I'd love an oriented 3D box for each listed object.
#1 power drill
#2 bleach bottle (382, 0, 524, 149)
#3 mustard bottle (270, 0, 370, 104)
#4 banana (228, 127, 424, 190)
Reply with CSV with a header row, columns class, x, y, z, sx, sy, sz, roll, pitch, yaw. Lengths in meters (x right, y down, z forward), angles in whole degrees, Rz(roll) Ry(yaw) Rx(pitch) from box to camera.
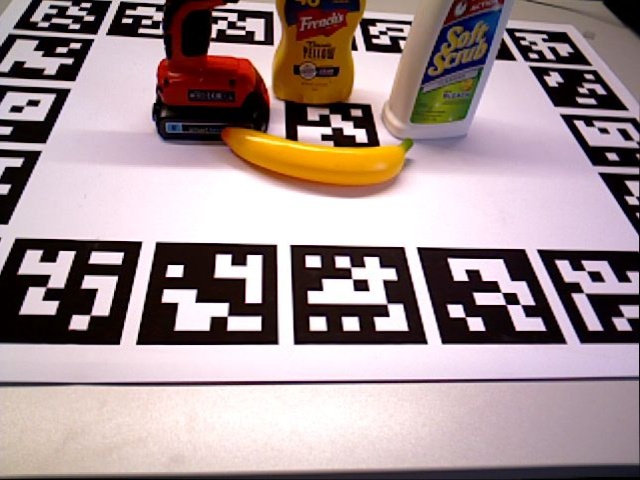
class,x,y,z,sx,sy,sz,roll,pitch,yaw
power drill,-0.092,-0.209,0.497,0.183,0.191,0.056,1,41,-11
bleach bottle,0.136,-0.208,0.525,0.101,0.257,0.067,-5,50,-13
mustard bottle,0.001,-0.239,0.563,0.095,0.196,0.057,2,47,-8
banana,0.008,-0.082,0.526,0.196,0.040,0.073,2,52,-4
